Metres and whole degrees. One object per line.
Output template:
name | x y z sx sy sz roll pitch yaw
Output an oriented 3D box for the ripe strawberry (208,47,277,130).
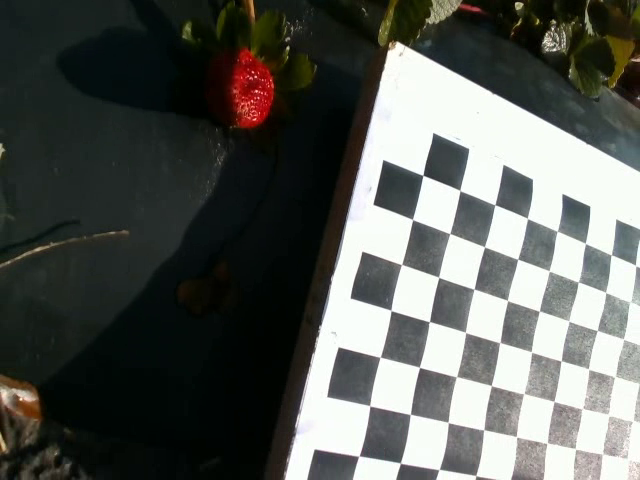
ripe strawberry | -0.013 -0.025 0.087 0.015 0.015 0.023 28 25 -22
